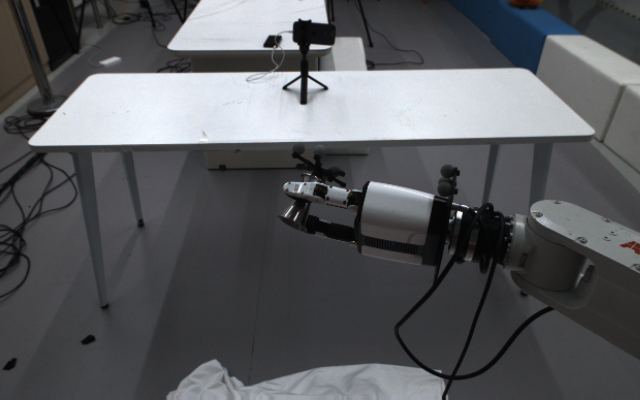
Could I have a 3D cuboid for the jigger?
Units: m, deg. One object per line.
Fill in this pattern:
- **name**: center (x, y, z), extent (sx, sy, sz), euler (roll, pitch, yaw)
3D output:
- **jigger**: center (-0.024, -0.001, 0.649), extent (0.043, 0.043, 0.071), euler (21, 73, 25)
